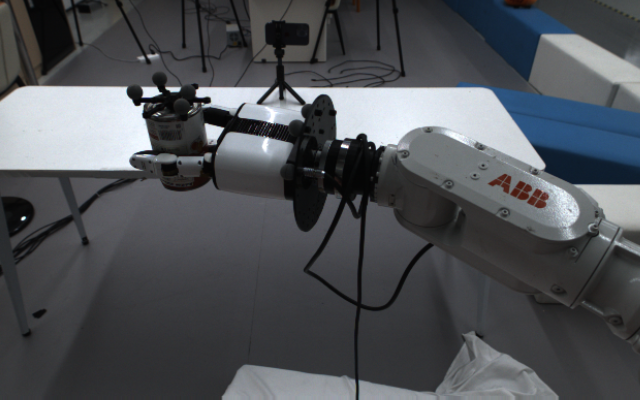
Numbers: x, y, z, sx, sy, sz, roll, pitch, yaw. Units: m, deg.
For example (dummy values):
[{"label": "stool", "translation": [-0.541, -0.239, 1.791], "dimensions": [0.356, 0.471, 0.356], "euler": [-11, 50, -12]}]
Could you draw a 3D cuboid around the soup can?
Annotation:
[{"label": "soup can", "translation": [-0.170, -0.069, 0.591], "dimensions": [0.067, 0.101, 0.067], "euler": [1, 39, -1]}]
